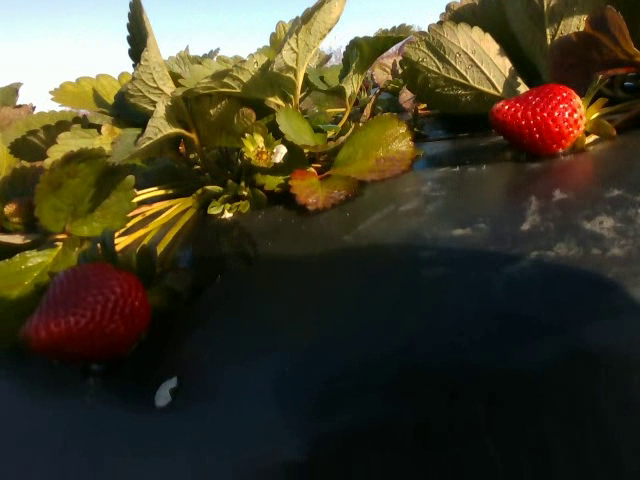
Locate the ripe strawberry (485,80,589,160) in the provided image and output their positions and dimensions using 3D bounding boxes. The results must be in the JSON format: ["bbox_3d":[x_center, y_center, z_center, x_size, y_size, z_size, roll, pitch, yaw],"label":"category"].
[{"bbox_3d":[0.087,-0.050,0.243,0.046,0.035,0.034,2,37,6],"label":"ripe strawberry"}]

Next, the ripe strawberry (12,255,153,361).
[{"bbox_3d":[-0.083,0.026,0.206,0.045,0.042,0.055,3,8,15],"label":"ripe strawberry"}]
